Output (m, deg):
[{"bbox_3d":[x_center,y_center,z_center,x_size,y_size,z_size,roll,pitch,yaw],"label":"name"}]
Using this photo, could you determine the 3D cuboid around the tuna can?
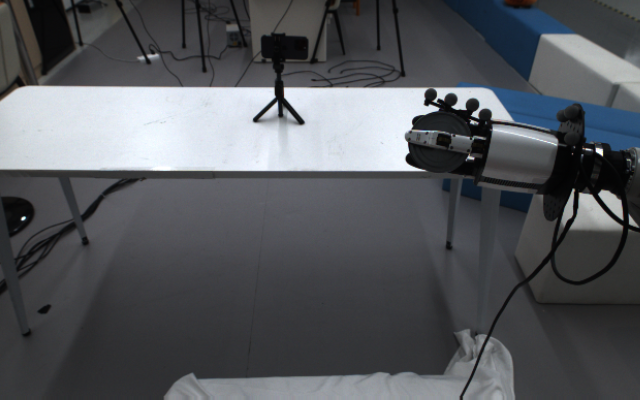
[{"bbox_3d":[0.170,-0.082,0.682,0.085,0.085,0.034,13,3,15],"label":"tuna can"}]
